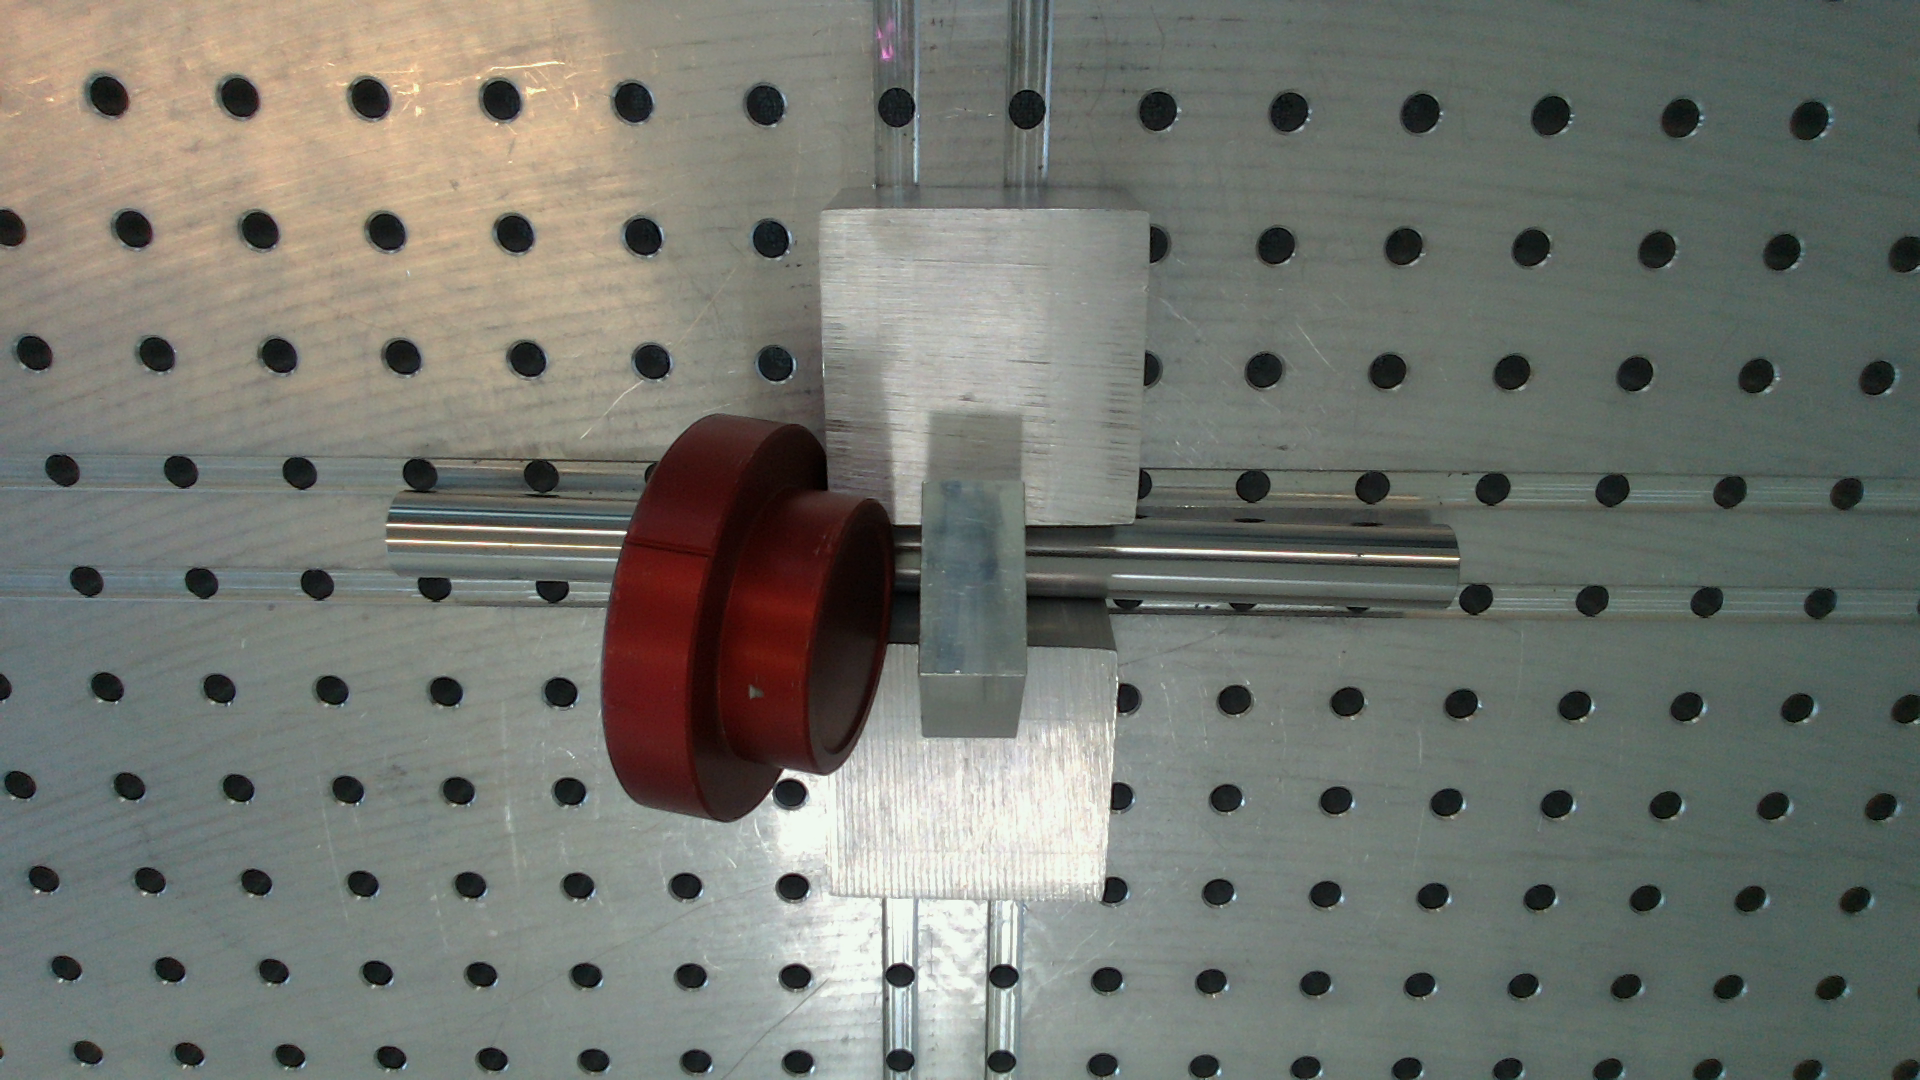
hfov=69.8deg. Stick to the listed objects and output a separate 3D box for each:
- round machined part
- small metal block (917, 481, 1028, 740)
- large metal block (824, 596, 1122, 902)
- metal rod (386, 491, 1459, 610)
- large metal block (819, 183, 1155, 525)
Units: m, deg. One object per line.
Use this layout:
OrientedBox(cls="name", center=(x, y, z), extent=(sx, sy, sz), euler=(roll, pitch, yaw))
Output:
OrientedBox(cls="round machined part", center=(-0.045, 0.021, 0.334), extent=(0.042, 0.098, 0.098), euler=(9, 111, 12))
OrientedBox(cls="small metal block", center=(0.003, 0.019, 0.343), extent=(0.025, 0.050, 0.050), euler=(1, 66, 0))
OrientedBox(cls="large metal block", center=(0.002, 0.057, 0.404), extent=(0.080, 0.050, 0.080), euler=(1, 110, -1))
OrientedBox(cls="metal rod", center=(-0.010, 0.003, 0.397), extent=(0.300, 0.025, 0.025), euler=(2, 110, -1))
OrientedBox(cls="large metal block", center=(0.006, -0.050, 0.364), extent=(0.080, 0.050, 0.080), euler=(0, 110, 0))
